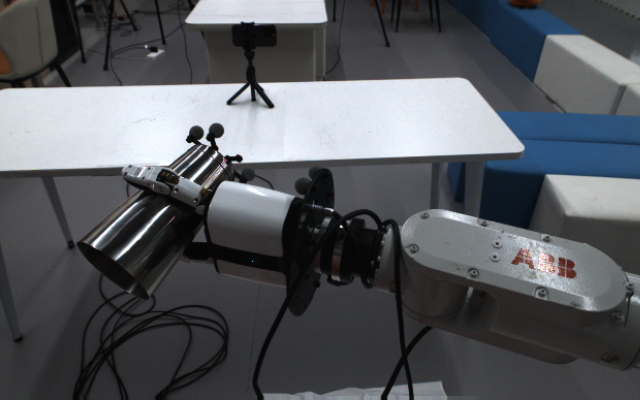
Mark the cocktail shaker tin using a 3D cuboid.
[{"bbox_3d":[-0.170,0.011,0.541,0.093,0.093,0.170,19,54,23],"label":"cocktail shaker tin"}]
